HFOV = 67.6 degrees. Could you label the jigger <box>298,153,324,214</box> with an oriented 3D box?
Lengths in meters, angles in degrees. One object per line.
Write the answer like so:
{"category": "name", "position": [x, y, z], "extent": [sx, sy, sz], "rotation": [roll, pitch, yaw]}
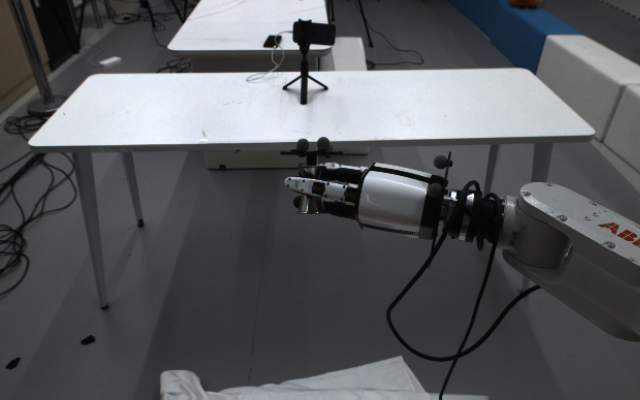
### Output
{"category": "jigger", "position": [-0.012, -0.016, 0.690], "extent": [0.043, 0.071, 0.043], "rotation": [-1, 2, 0]}
